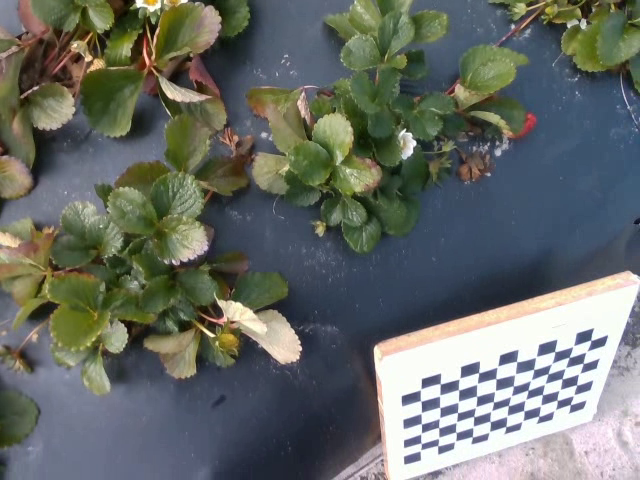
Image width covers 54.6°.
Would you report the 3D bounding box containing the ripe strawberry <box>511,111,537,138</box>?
[{"bbox_3d":[0.130,-0.079,0.411,0.027,0.021,0.021,-27,-34,18],"label":"ripe strawberry"}]
